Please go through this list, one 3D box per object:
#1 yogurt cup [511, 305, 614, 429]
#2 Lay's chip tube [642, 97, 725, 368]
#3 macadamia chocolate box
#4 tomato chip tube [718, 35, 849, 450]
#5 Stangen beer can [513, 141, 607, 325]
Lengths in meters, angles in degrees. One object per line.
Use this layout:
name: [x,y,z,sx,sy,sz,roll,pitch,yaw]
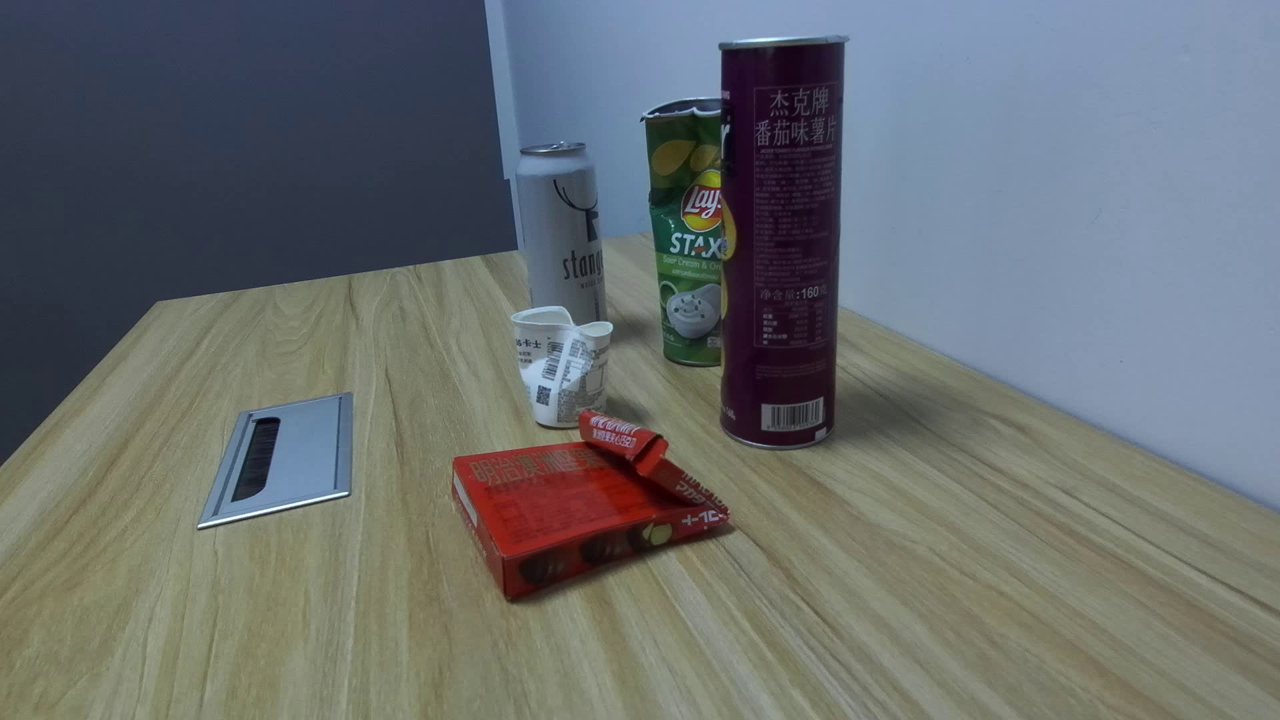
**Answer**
yogurt cup: [-0.052,0.004,0.490,0.075,0.071,0.053,0,24,10]
Lay's chip tube: [0.049,-0.098,0.557,0.077,0.201,0.069,-7,21,-2]
macadamia chocolate box: [-0.033,0.069,0.388,0.127,0.056,0.111,-16,10,-22]
tomato chip tube: [0.085,-0.066,0.427,0.076,0.234,0.080,13,27,35]
Stangen beer can: [-0.066,-0.095,0.610,0.067,0.171,0.067,-3,18,1]
